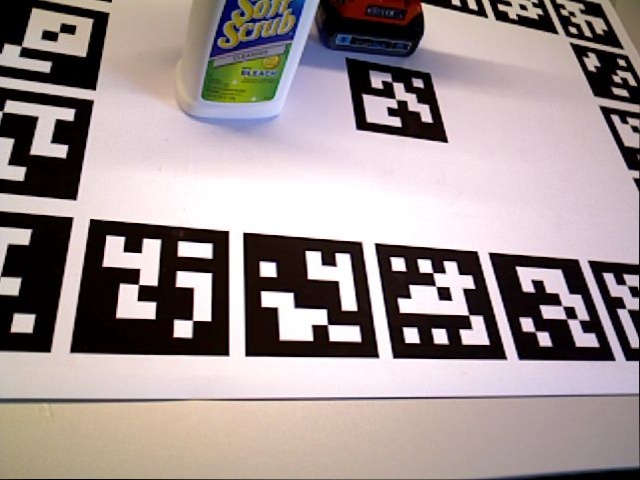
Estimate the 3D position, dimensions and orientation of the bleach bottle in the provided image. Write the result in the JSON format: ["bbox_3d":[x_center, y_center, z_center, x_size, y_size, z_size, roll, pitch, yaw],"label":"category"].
[{"bbox_3d":[-0.040,-0.200,0.366,0.101,0.257,0.067,-3,62,-21],"label":"bleach bottle"}]

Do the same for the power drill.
[{"bbox_3d":[0.107,-0.278,0.498,0.182,0.191,0.057,2,63,-25],"label":"power drill"}]
